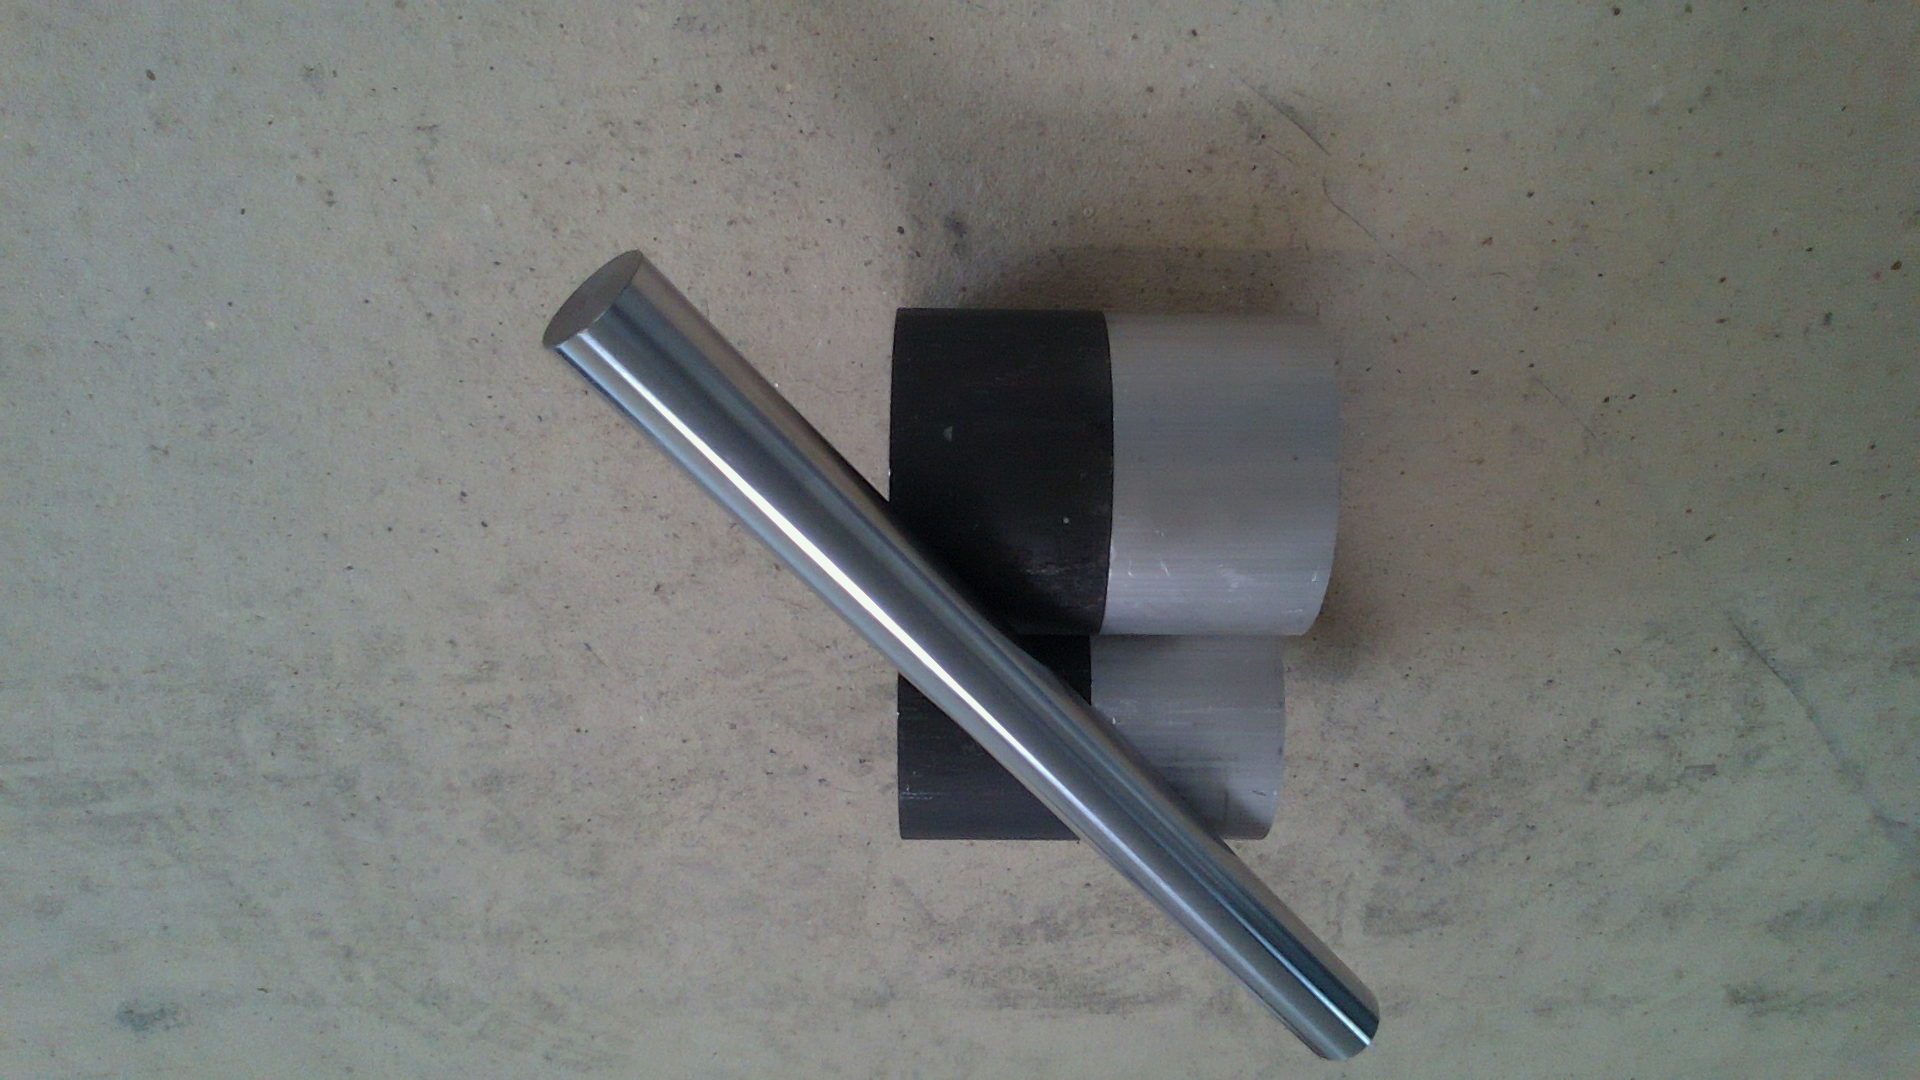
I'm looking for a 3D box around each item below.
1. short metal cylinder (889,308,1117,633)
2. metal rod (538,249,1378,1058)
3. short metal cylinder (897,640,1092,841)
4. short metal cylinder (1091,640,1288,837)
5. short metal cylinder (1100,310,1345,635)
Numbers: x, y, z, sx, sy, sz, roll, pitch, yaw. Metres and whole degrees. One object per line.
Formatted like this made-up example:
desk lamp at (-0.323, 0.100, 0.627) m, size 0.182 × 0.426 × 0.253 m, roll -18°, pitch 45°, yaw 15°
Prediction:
short metal cylinder at (0.009, -0.017, 0.341) m, size 0.050 × 0.080 × 0.080 m, roll 0°, pitch 130°, yaw 0°
metal rod at (0.022, 0.048, 0.327) m, size 0.025 × 0.025 × 0.301 m, roll -29°, pitch 124°, yaw 22°
short metal cylinder at (0.009, 0.045, 0.393) m, size 0.050 × 0.080 × 0.080 m, roll 0°, pitch 130°, yaw 0°
short metal cylinder at (0.059, 0.045, 0.393) m, size 0.050 × 0.080 × 0.080 m, roll 0°, pitch 130°, yaw 0°
short metal cylinder at (0.059, -0.016, 0.341) m, size 0.050 × 0.080 × 0.080 m, roll 0°, pitch 130°, yaw 0°
